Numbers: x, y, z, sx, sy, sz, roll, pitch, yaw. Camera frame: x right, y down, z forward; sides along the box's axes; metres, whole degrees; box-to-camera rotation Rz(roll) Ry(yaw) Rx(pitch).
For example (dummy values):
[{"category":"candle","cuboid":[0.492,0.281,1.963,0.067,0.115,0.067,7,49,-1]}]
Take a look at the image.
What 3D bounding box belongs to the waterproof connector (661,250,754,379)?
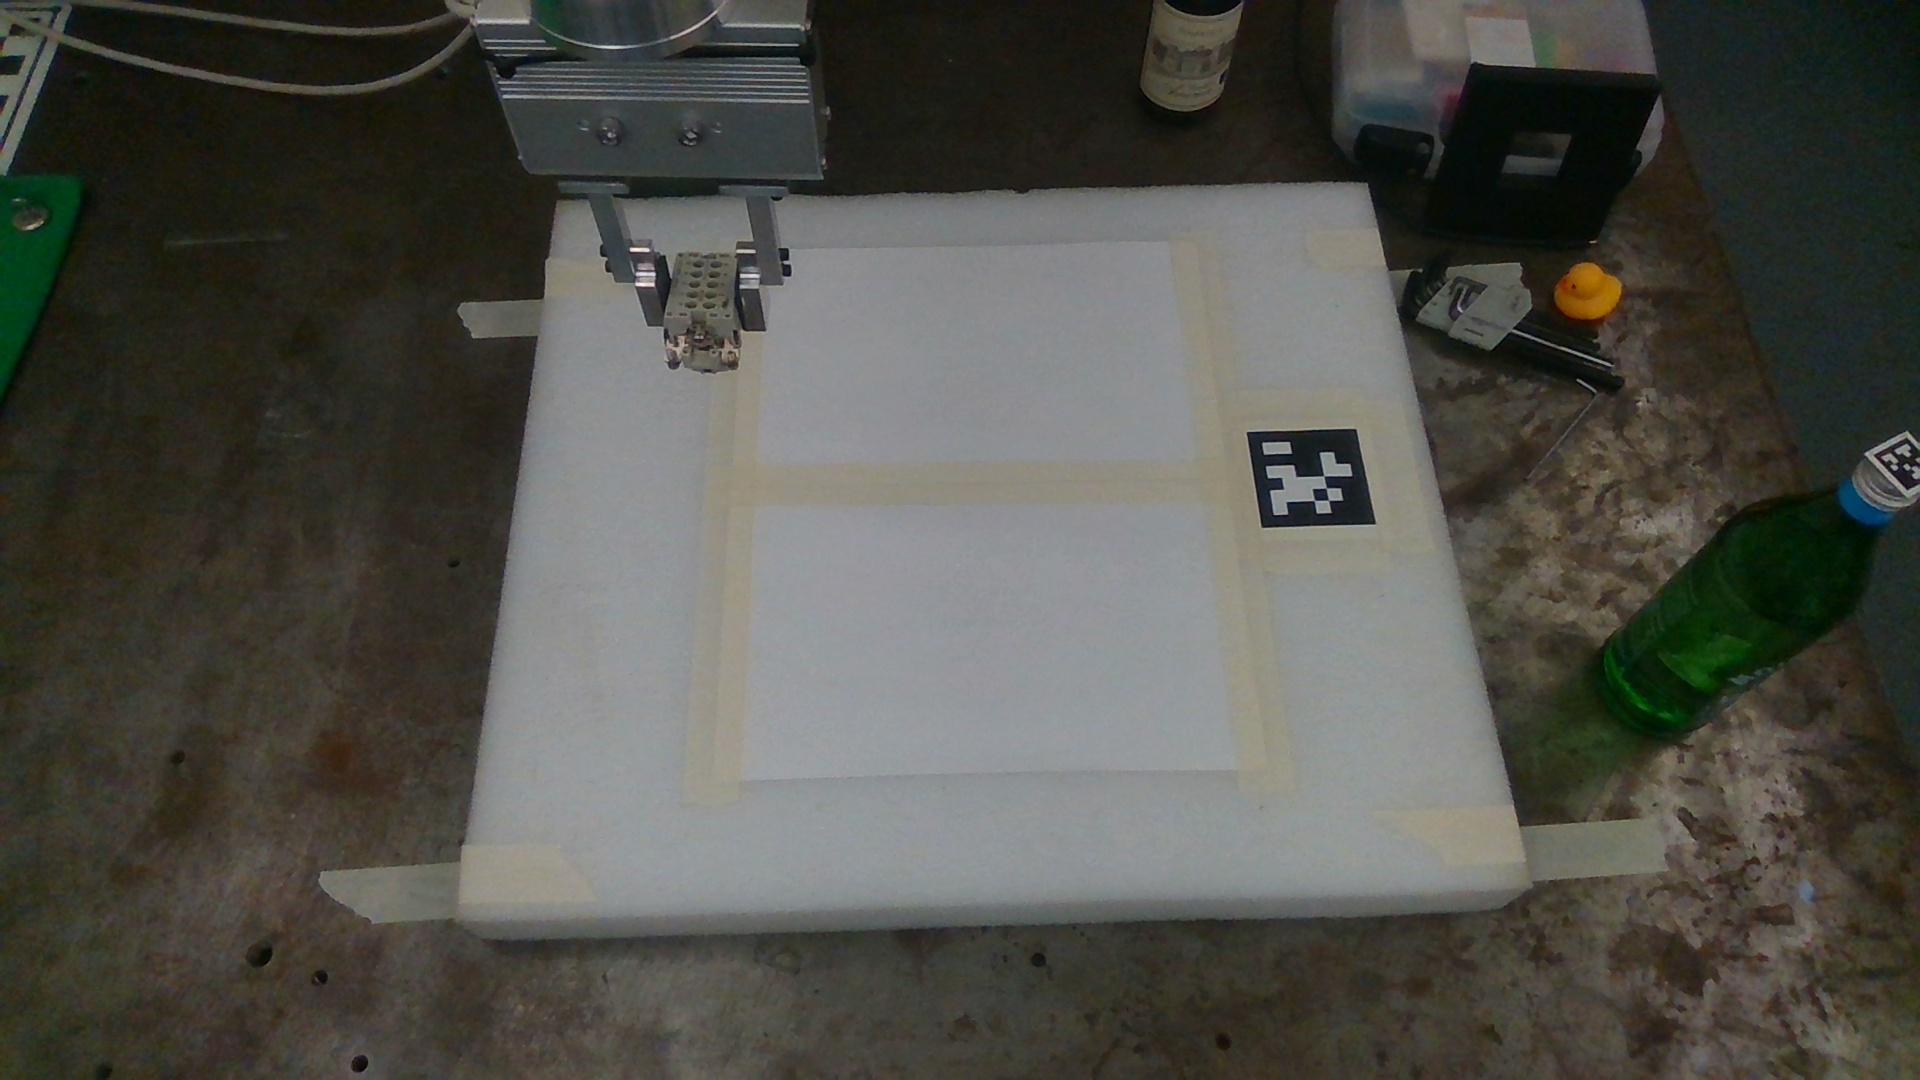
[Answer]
[{"category":"waterproof connector","cuboid":[-0.118,-0.106,0.651,0.037,0.038,0.069,0,52,-1]}]
